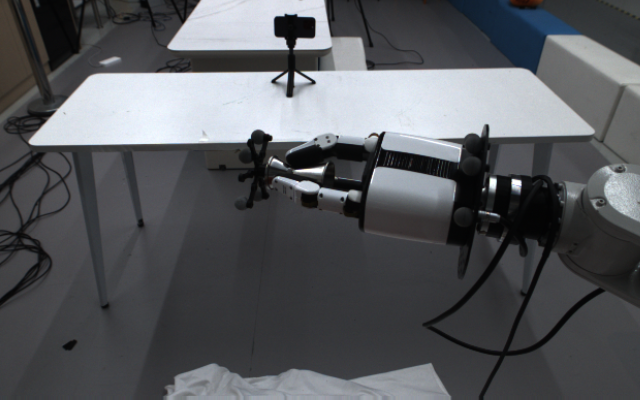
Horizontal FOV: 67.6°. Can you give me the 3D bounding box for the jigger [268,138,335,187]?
[{"bbox_3d":[-0.016,-0.029,0.538,0.071,0.043,0.043,9,35,17],"label":"jigger"}]
